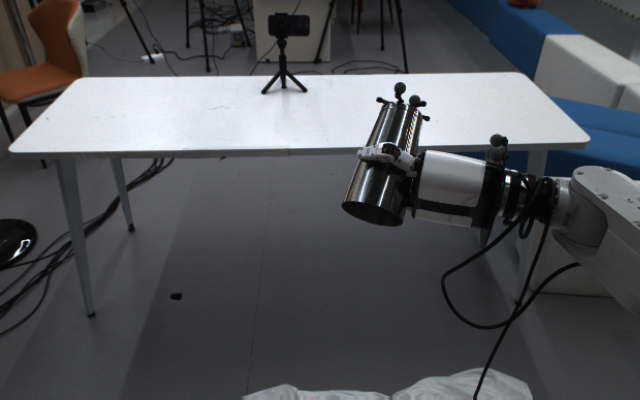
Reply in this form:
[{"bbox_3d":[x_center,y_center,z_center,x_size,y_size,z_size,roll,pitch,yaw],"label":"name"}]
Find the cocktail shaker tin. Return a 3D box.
[{"bbox_3d":[0.101,-0.056,0.721,0.093,0.093,0.170,14,73,16],"label":"cocktail shaker tin"}]
